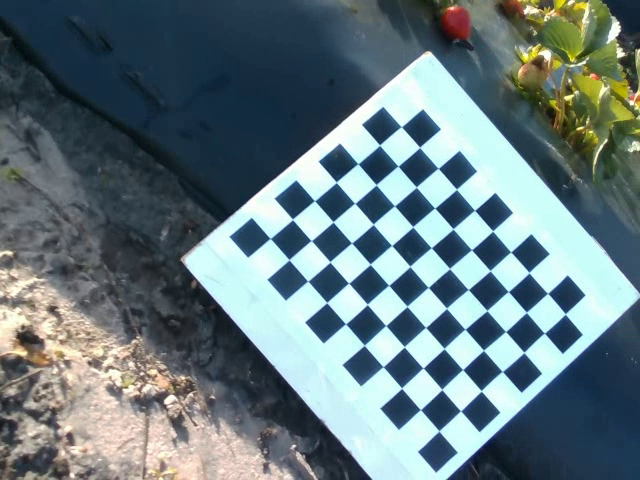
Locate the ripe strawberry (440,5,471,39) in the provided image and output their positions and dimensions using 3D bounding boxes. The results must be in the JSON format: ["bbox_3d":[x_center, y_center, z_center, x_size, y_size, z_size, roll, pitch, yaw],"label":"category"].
[{"bbox_3d":[0.124,-0.200,0.534,0.030,0.045,0.033,-13,-33,0],"label":"ripe strawberry"}]
